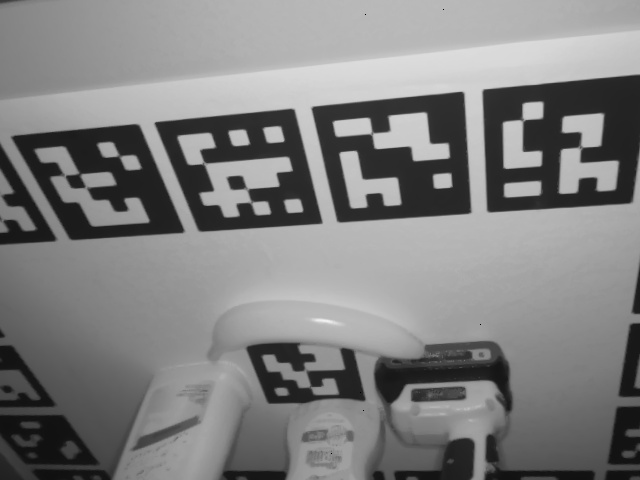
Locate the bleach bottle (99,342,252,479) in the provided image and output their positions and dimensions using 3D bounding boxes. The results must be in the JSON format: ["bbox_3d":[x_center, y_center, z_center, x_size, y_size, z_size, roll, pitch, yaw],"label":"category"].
[{"bbox_3d":[-0.135,0.200,0.593,0.102,0.253,0.067,-8,125,15],"label":"bleach bottle"}]

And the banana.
[{"bbox_3d":[-0.010,0.072,0.600,0.197,0.039,0.073,0,123,5],"label":"banana"}]

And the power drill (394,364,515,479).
[{"bbox_3d":[0.093,0.192,0.559,0.183,0.189,0.057,-2,134,13],"label":"power drill"}]

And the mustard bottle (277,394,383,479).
[{"bbox_3d":[0.003,0.230,0.625,0.096,0.193,0.058,0,128,10],"label":"mustard bottle"}]
